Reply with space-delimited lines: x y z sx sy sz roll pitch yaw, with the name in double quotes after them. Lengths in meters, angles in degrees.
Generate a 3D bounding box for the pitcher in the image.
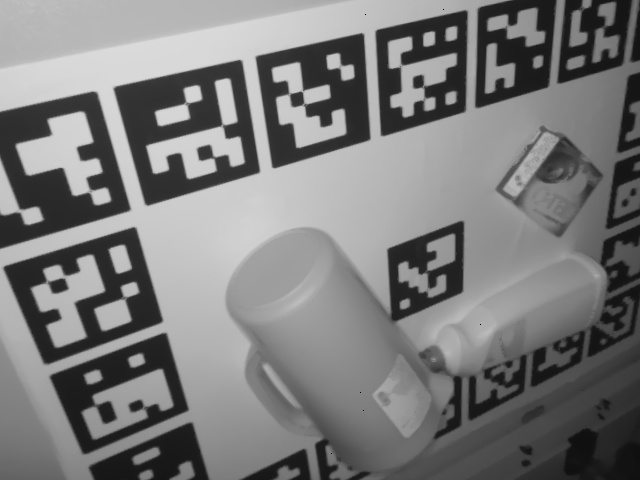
0.027 0.110 0.682 0.186 0.135 0.243 -23 124 24 "pitcher"

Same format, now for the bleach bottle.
0.271 0.108 0.832 0.253 0.067 0.102 -22 117 -15 "bleach bottle"

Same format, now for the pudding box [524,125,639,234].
0.295 -0.063 0.772 0.115 0.038 0.089 28 104 -33 "pudding box"
